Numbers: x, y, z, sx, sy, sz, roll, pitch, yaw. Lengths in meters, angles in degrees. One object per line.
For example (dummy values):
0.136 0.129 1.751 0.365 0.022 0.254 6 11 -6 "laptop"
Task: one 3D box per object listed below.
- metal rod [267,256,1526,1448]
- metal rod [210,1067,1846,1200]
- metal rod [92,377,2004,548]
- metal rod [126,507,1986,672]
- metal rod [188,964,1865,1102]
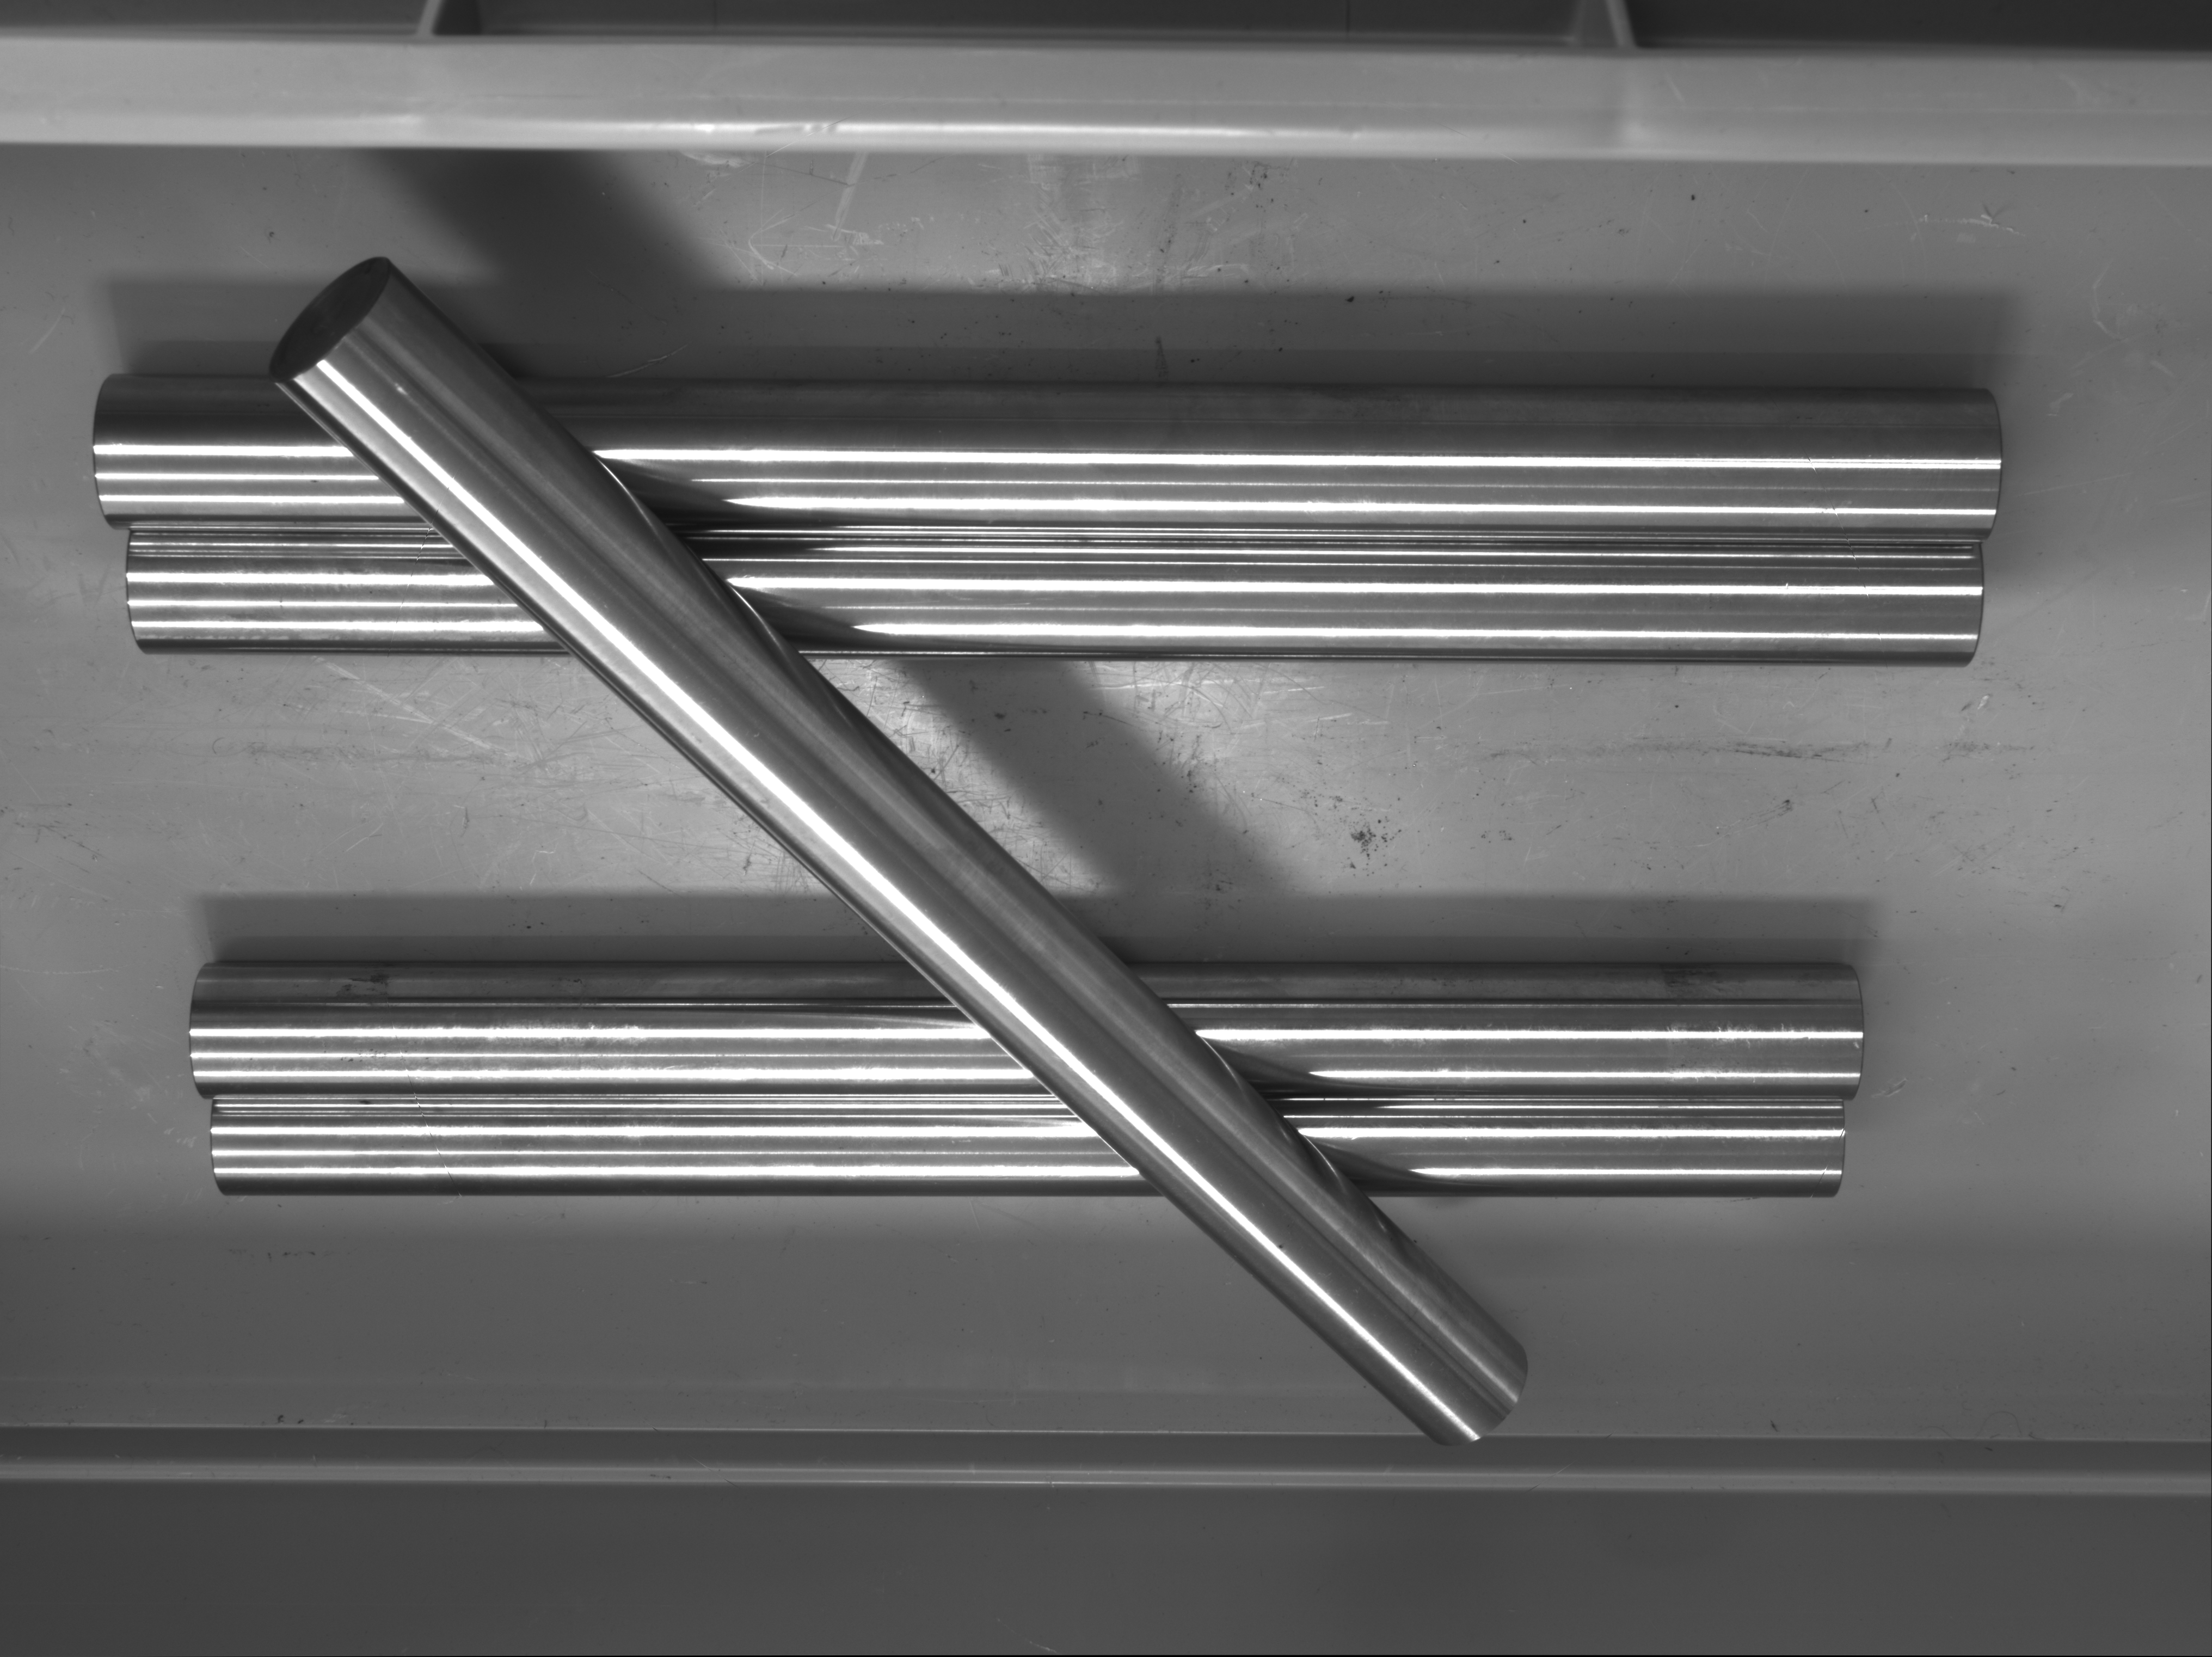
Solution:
-0.023 0.016 0.619 0.025 0.025 0.301 -31 124 23 "metal rod"
-0.014 0.057 0.685 0.300 0.025 0.025 0 130 0 "metal rod"
-0.009 -0.059 0.588 0.300 0.025 0.025 0 130 -1 "metal rod"
-0.008 -0.039 0.604 0.300 0.025 0.025 0 130 -1 "metal rod"
-0.014 0.037 0.668 0.300 0.025 0.025 0 130 0 "metal rod"
